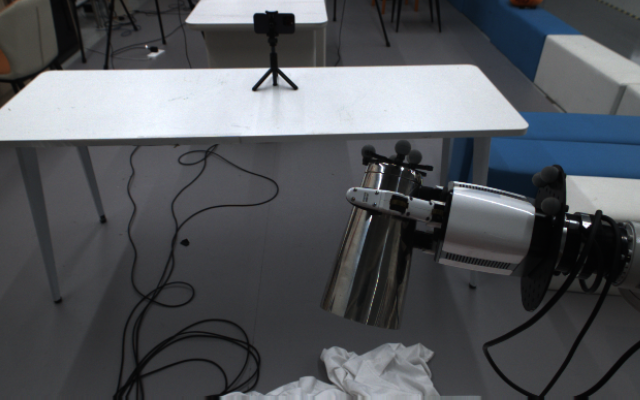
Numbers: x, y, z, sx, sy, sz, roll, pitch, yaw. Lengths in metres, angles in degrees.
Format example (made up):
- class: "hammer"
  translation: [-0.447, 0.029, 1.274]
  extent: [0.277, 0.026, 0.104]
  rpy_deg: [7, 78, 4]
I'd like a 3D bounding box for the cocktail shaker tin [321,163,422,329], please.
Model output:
- class: "cocktail shaker tin"
  translation: [0.067, 0.046, 0.550]
  extent: [0.093, 0.170, 0.093]
  rpy_deg: [14, -5, 1]
